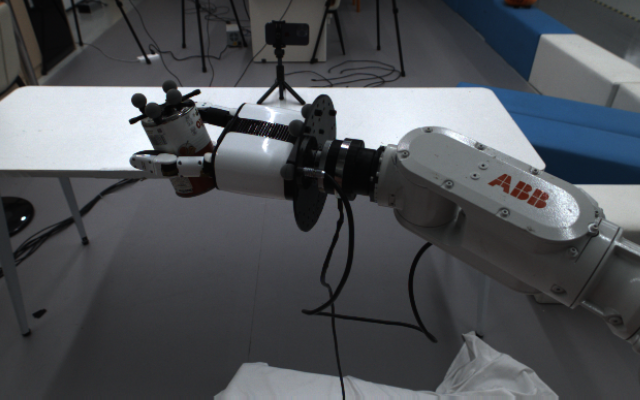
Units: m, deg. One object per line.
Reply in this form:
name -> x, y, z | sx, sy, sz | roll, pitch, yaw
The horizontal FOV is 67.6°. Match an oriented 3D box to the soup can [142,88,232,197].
soup can -> -0.165, -0.061, 0.593 | 0.067, 0.101, 0.067 | -13, 31, 8
